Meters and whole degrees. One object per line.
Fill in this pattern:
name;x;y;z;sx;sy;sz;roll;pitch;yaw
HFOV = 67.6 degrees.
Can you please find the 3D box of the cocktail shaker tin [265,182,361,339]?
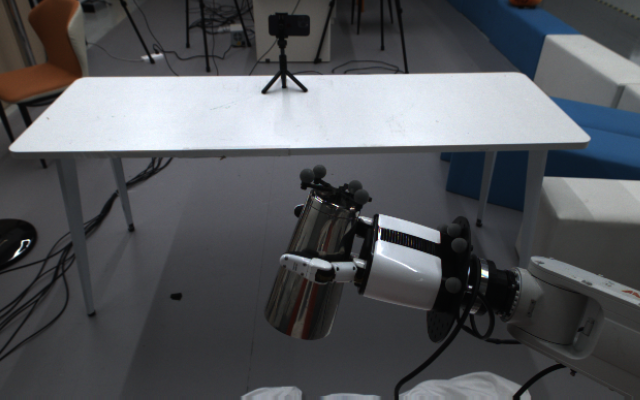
cocktail shaker tin;-0.005;0.075;0.603;0.093;0.170;0.093;15;17;-5
